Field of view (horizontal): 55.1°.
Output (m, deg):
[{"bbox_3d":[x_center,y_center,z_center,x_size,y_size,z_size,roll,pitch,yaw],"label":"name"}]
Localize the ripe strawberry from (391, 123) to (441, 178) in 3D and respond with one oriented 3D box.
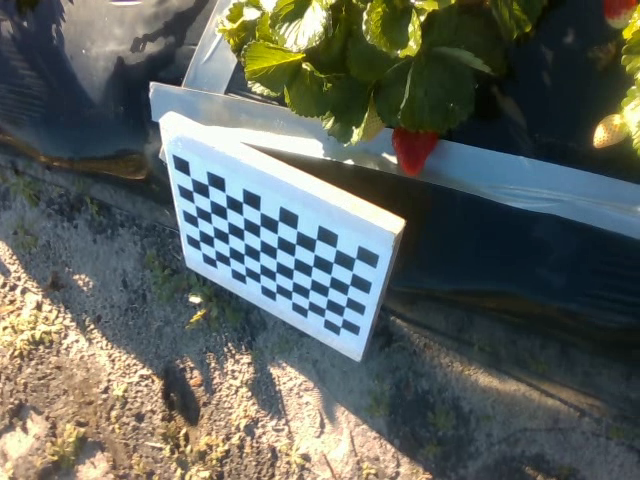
[{"bbox_3d":[0.084,-0.086,0.556,0.048,0.064,0.045,16,-27,-18],"label":"ripe strawberry"}]
